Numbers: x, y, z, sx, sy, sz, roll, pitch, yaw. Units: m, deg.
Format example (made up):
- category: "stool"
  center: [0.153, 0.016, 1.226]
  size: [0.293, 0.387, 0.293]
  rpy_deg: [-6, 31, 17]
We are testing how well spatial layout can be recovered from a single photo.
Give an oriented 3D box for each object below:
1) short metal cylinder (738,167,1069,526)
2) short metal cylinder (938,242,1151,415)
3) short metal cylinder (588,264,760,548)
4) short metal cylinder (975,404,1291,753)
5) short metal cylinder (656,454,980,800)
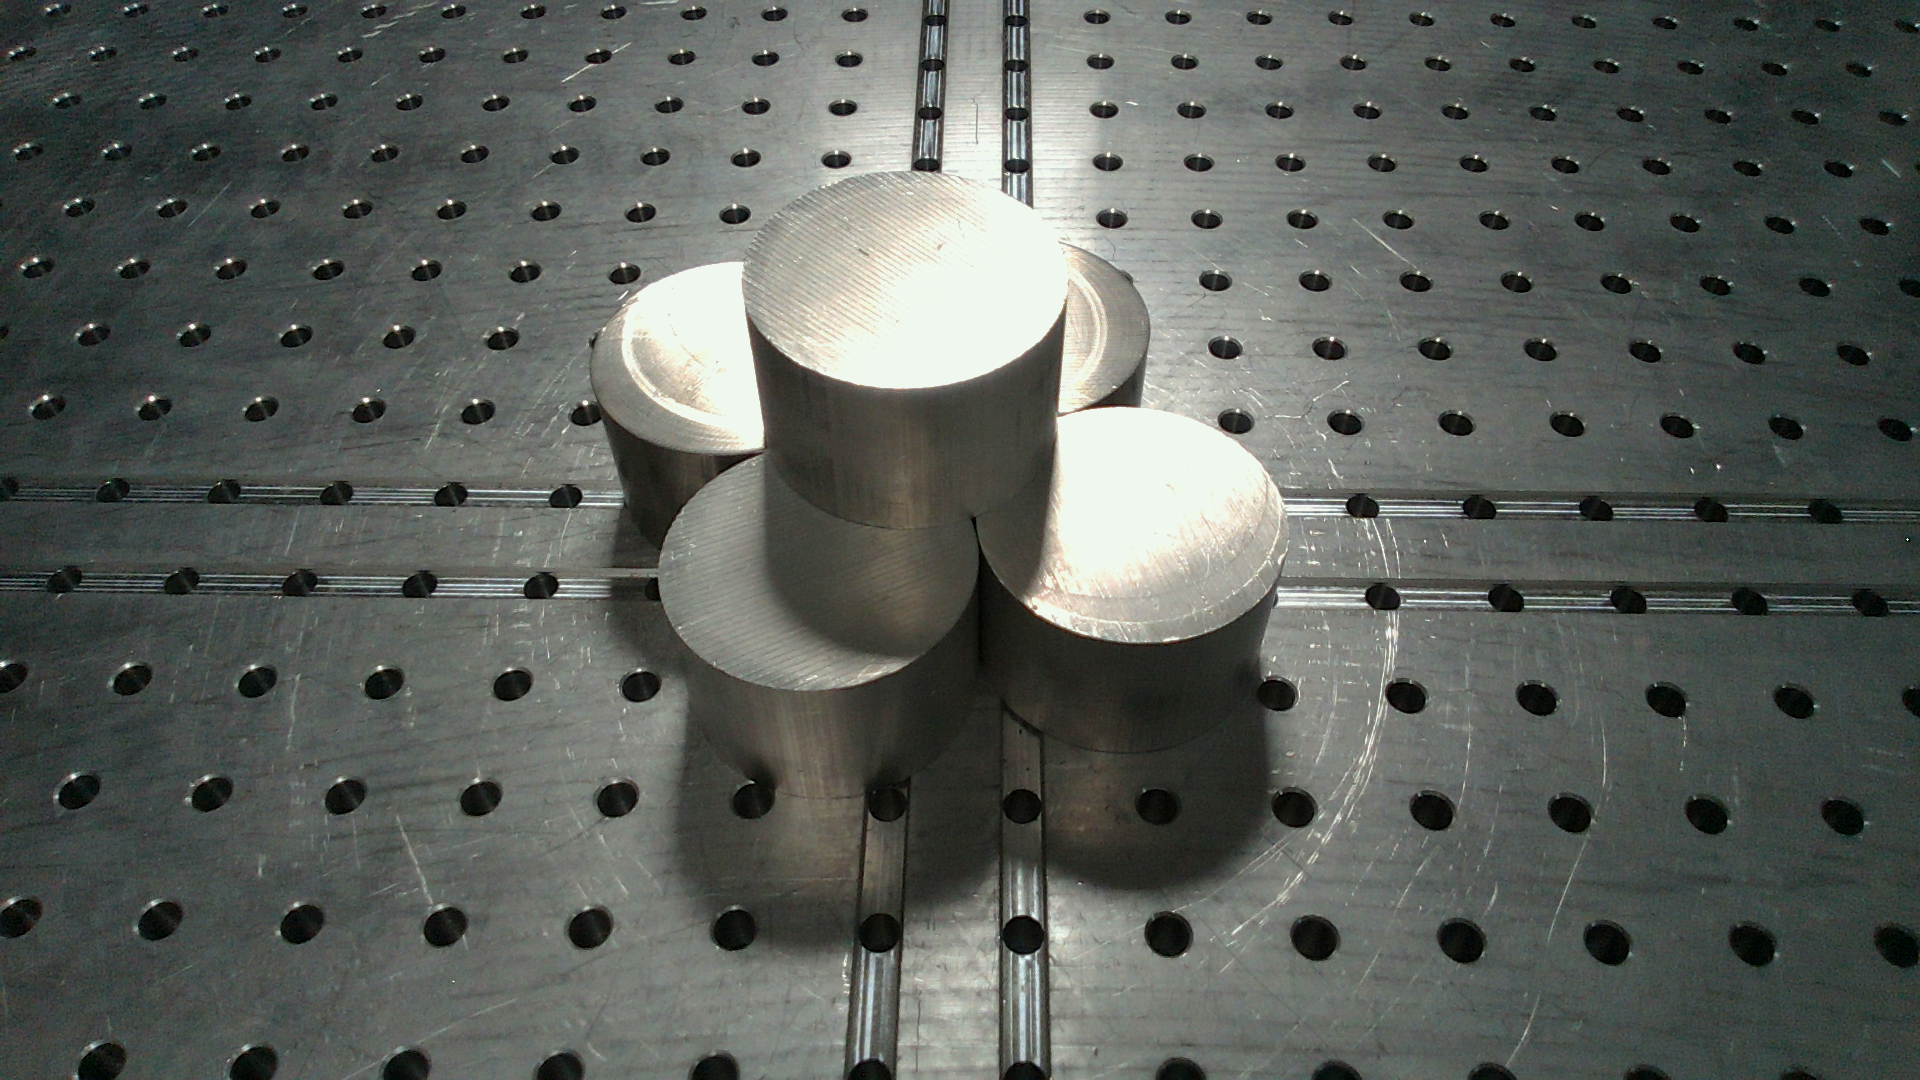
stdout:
- category: "short metal cylinder"
  center: [-0.014, -0.050, 0.353]
  size: [0.080, 0.050, 0.080]
  rpy_deg: [1, 51, 0]
- category: "short metal cylinder"
  center: [0.015, -0.048, 0.418]
  size: [0.080, 0.050, 0.080]
  rpy_deg: [0, 50, 0]
- category: "short metal cylinder"
  center: [-0.064, -0.037, 0.409]
  size: [0.080, 0.050, 0.080]
  rpy_deg: [0, 50, 0]
- category: "short metal cylinder"
  center: [0.044, 0.010, 0.369]
  size: [0.080, 0.050, 0.080]
  rpy_deg: [0, 50, 0]
- category: "short metal cylinder"
  center: [-0.035, 0.020, 0.360]
  size: [0.080, 0.050, 0.080]
  rpy_deg: [0, 50, 0]
